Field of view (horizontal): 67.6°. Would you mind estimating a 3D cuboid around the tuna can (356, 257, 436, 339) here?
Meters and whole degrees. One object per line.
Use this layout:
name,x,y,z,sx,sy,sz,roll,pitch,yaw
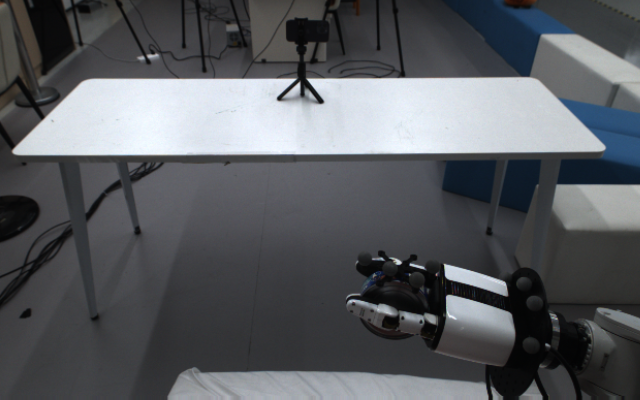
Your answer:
tuna can,0.093,0.126,0.595,0.085,0.085,0.034,7,21,7
